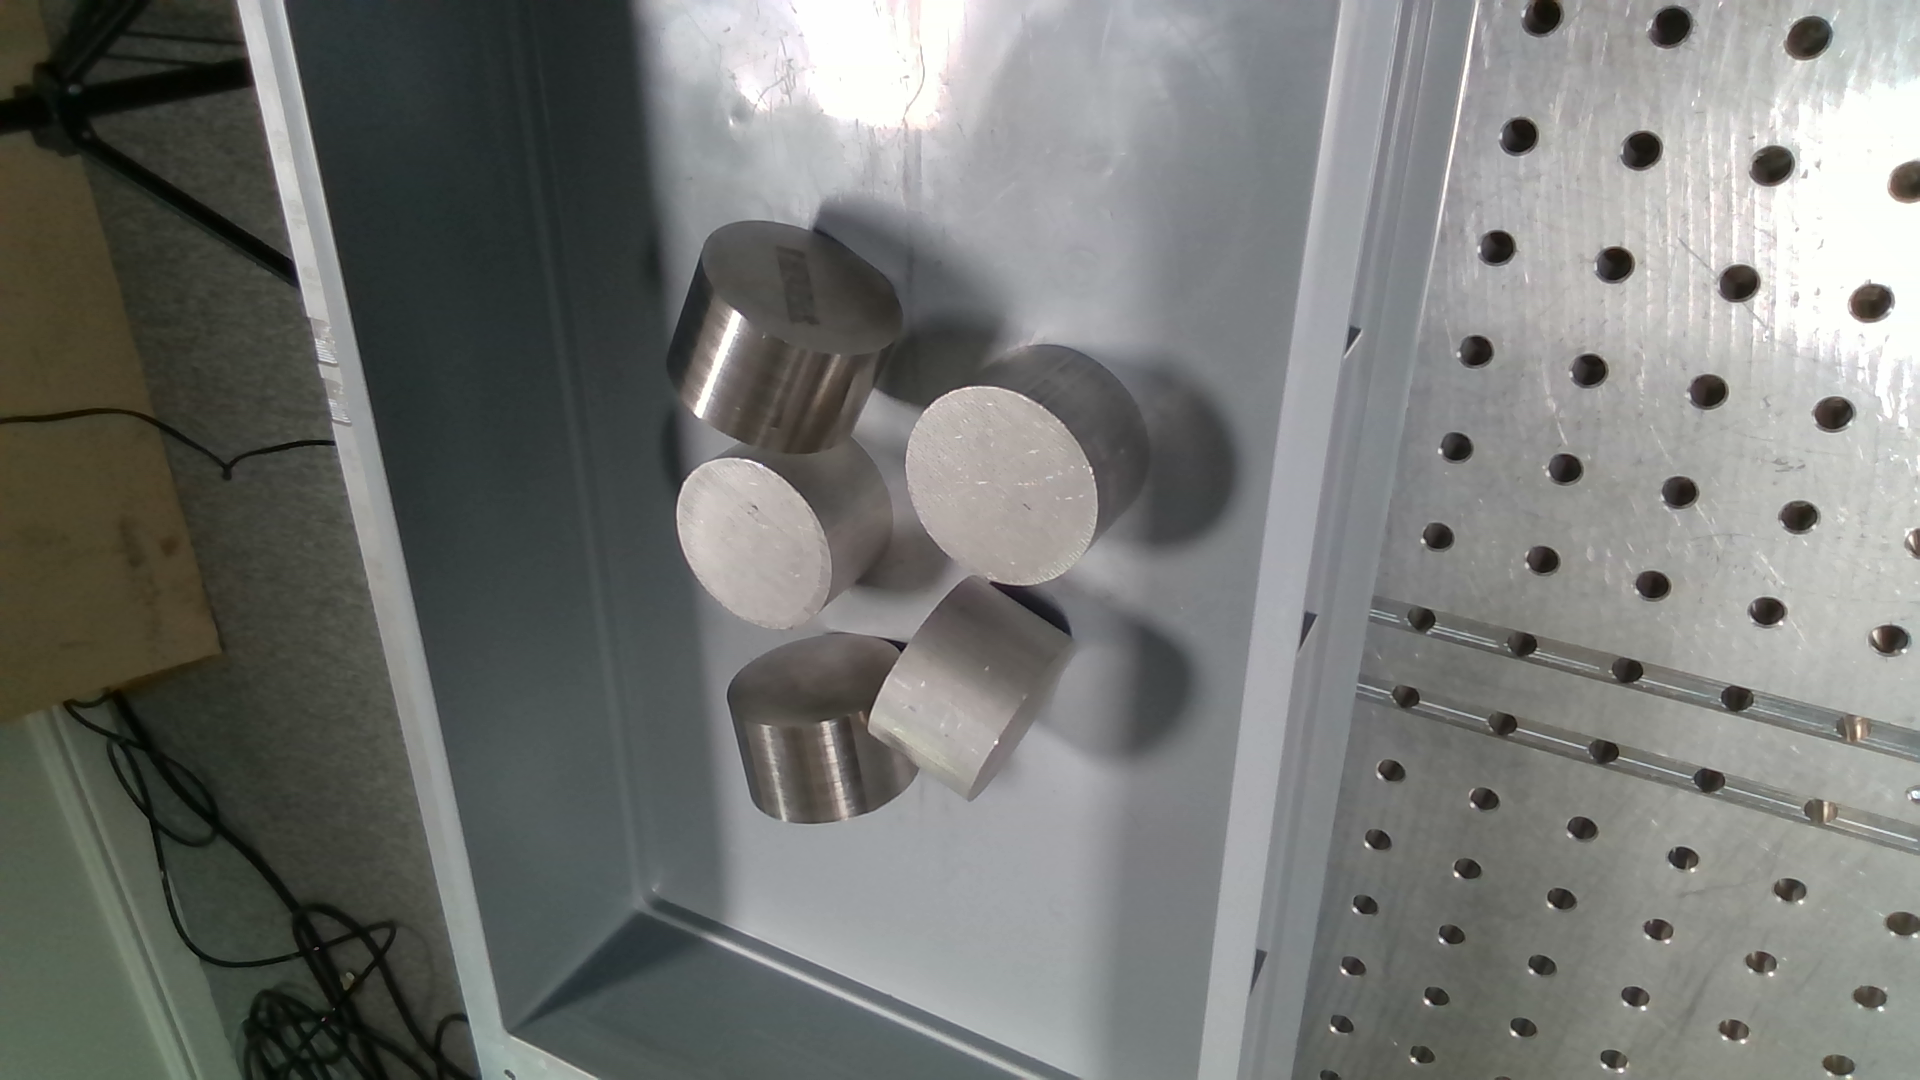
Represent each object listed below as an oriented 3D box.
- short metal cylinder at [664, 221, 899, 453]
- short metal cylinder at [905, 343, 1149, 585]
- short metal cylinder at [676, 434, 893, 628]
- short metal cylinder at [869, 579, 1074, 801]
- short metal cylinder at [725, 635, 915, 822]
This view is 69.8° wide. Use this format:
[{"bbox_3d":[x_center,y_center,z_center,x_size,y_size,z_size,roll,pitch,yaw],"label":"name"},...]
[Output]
[{"bbox_3d":[-0.070,-0.080,0.541,0.080,0.080,0.050,37,129,9],"label":"short metal cylinder"},{"bbox_3d":[0.026,-0.030,0.530,0.080,0.050,0.080,14,122,25],"label":"short metal cylinder"},{"bbox_3d":[-0.077,-0.009,0.604,0.080,0.050,0.080,14,122,25],"label":"short metal cylinder"},{"bbox_3d":[0.006,0.061,0.574,0.050,0.080,0.080,33,128,12],"label":"short metal cylinder"},{"bbox_3d":[-0.062,0.084,0.627,0.080,0.080,0.050,5,118,29],"label":"short metal cylinder"}]
